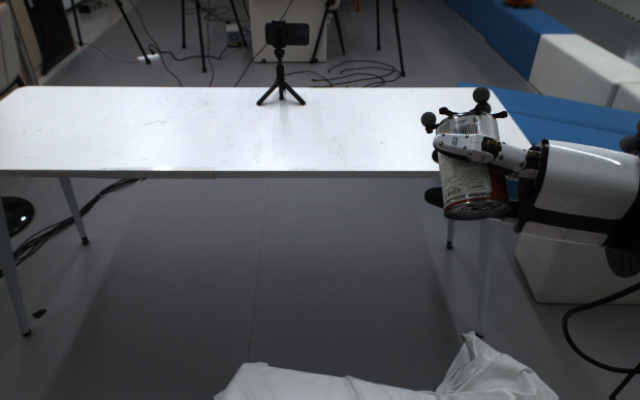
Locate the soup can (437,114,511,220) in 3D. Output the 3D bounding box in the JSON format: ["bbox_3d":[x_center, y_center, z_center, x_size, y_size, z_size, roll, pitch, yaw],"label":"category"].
[{"bbox_3d":[0.164,-0.038,0.525,0.067,0.067,0.101,0,72,-4],"label":"soup can"}]
